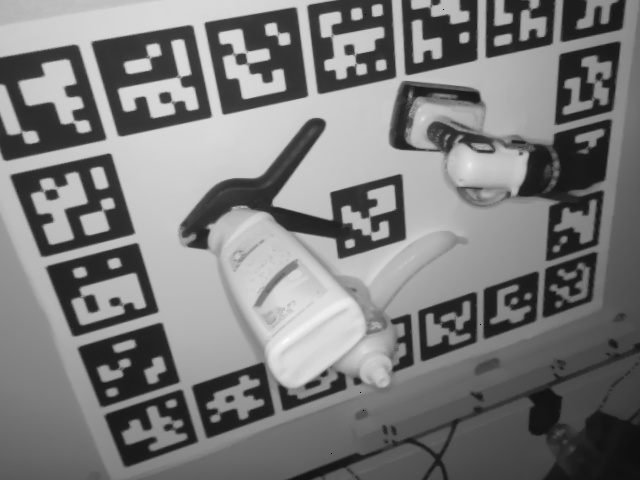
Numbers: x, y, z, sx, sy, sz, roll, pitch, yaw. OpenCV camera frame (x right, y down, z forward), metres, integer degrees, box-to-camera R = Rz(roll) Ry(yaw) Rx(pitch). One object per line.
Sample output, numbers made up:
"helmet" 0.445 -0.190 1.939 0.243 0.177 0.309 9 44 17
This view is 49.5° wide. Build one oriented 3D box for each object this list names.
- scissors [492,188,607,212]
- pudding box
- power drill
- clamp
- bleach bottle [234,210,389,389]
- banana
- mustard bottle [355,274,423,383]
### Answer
"scissors" 0.300 -0.054 0.819 0.205 0.016 0.087 11 107 -20
"pudding box" 0.272 -0.086 0.868 0.115 0.090 0.038 -10 126 -15
"power drill" 0.230 -0.110 0.748 0.187 0.187 0.057 -3 124 -22
"clamp" -0.033 -0.032 0.794 0.204 0.036 0.164 -20 119 -9
"bleach bottle" -0.034 0.037 0.705 0.103 0.249 0.068 -33 127 -9
"banana" 0.155 0.067 0.926 0.196 0.038 0.075 -48 138 7
"mustard bottle" 0.070 0.110 0.838 0.097 0.191 0.058 -1 117 -18
